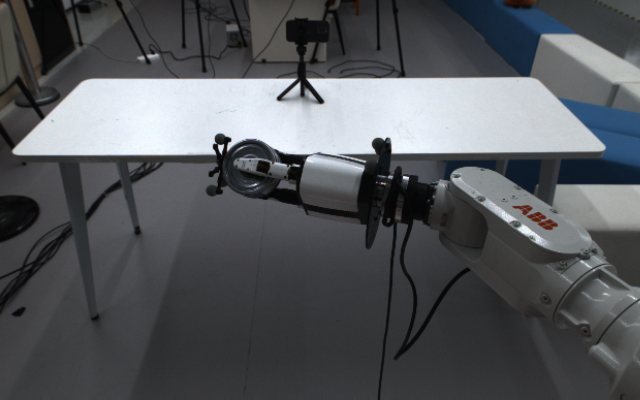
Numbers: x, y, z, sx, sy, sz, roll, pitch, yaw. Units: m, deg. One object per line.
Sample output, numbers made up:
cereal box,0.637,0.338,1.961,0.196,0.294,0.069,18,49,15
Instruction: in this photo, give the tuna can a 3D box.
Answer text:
tuna can,-0.099,-0.048,0.722,0.085,0.085,0.034,10,-5,11
